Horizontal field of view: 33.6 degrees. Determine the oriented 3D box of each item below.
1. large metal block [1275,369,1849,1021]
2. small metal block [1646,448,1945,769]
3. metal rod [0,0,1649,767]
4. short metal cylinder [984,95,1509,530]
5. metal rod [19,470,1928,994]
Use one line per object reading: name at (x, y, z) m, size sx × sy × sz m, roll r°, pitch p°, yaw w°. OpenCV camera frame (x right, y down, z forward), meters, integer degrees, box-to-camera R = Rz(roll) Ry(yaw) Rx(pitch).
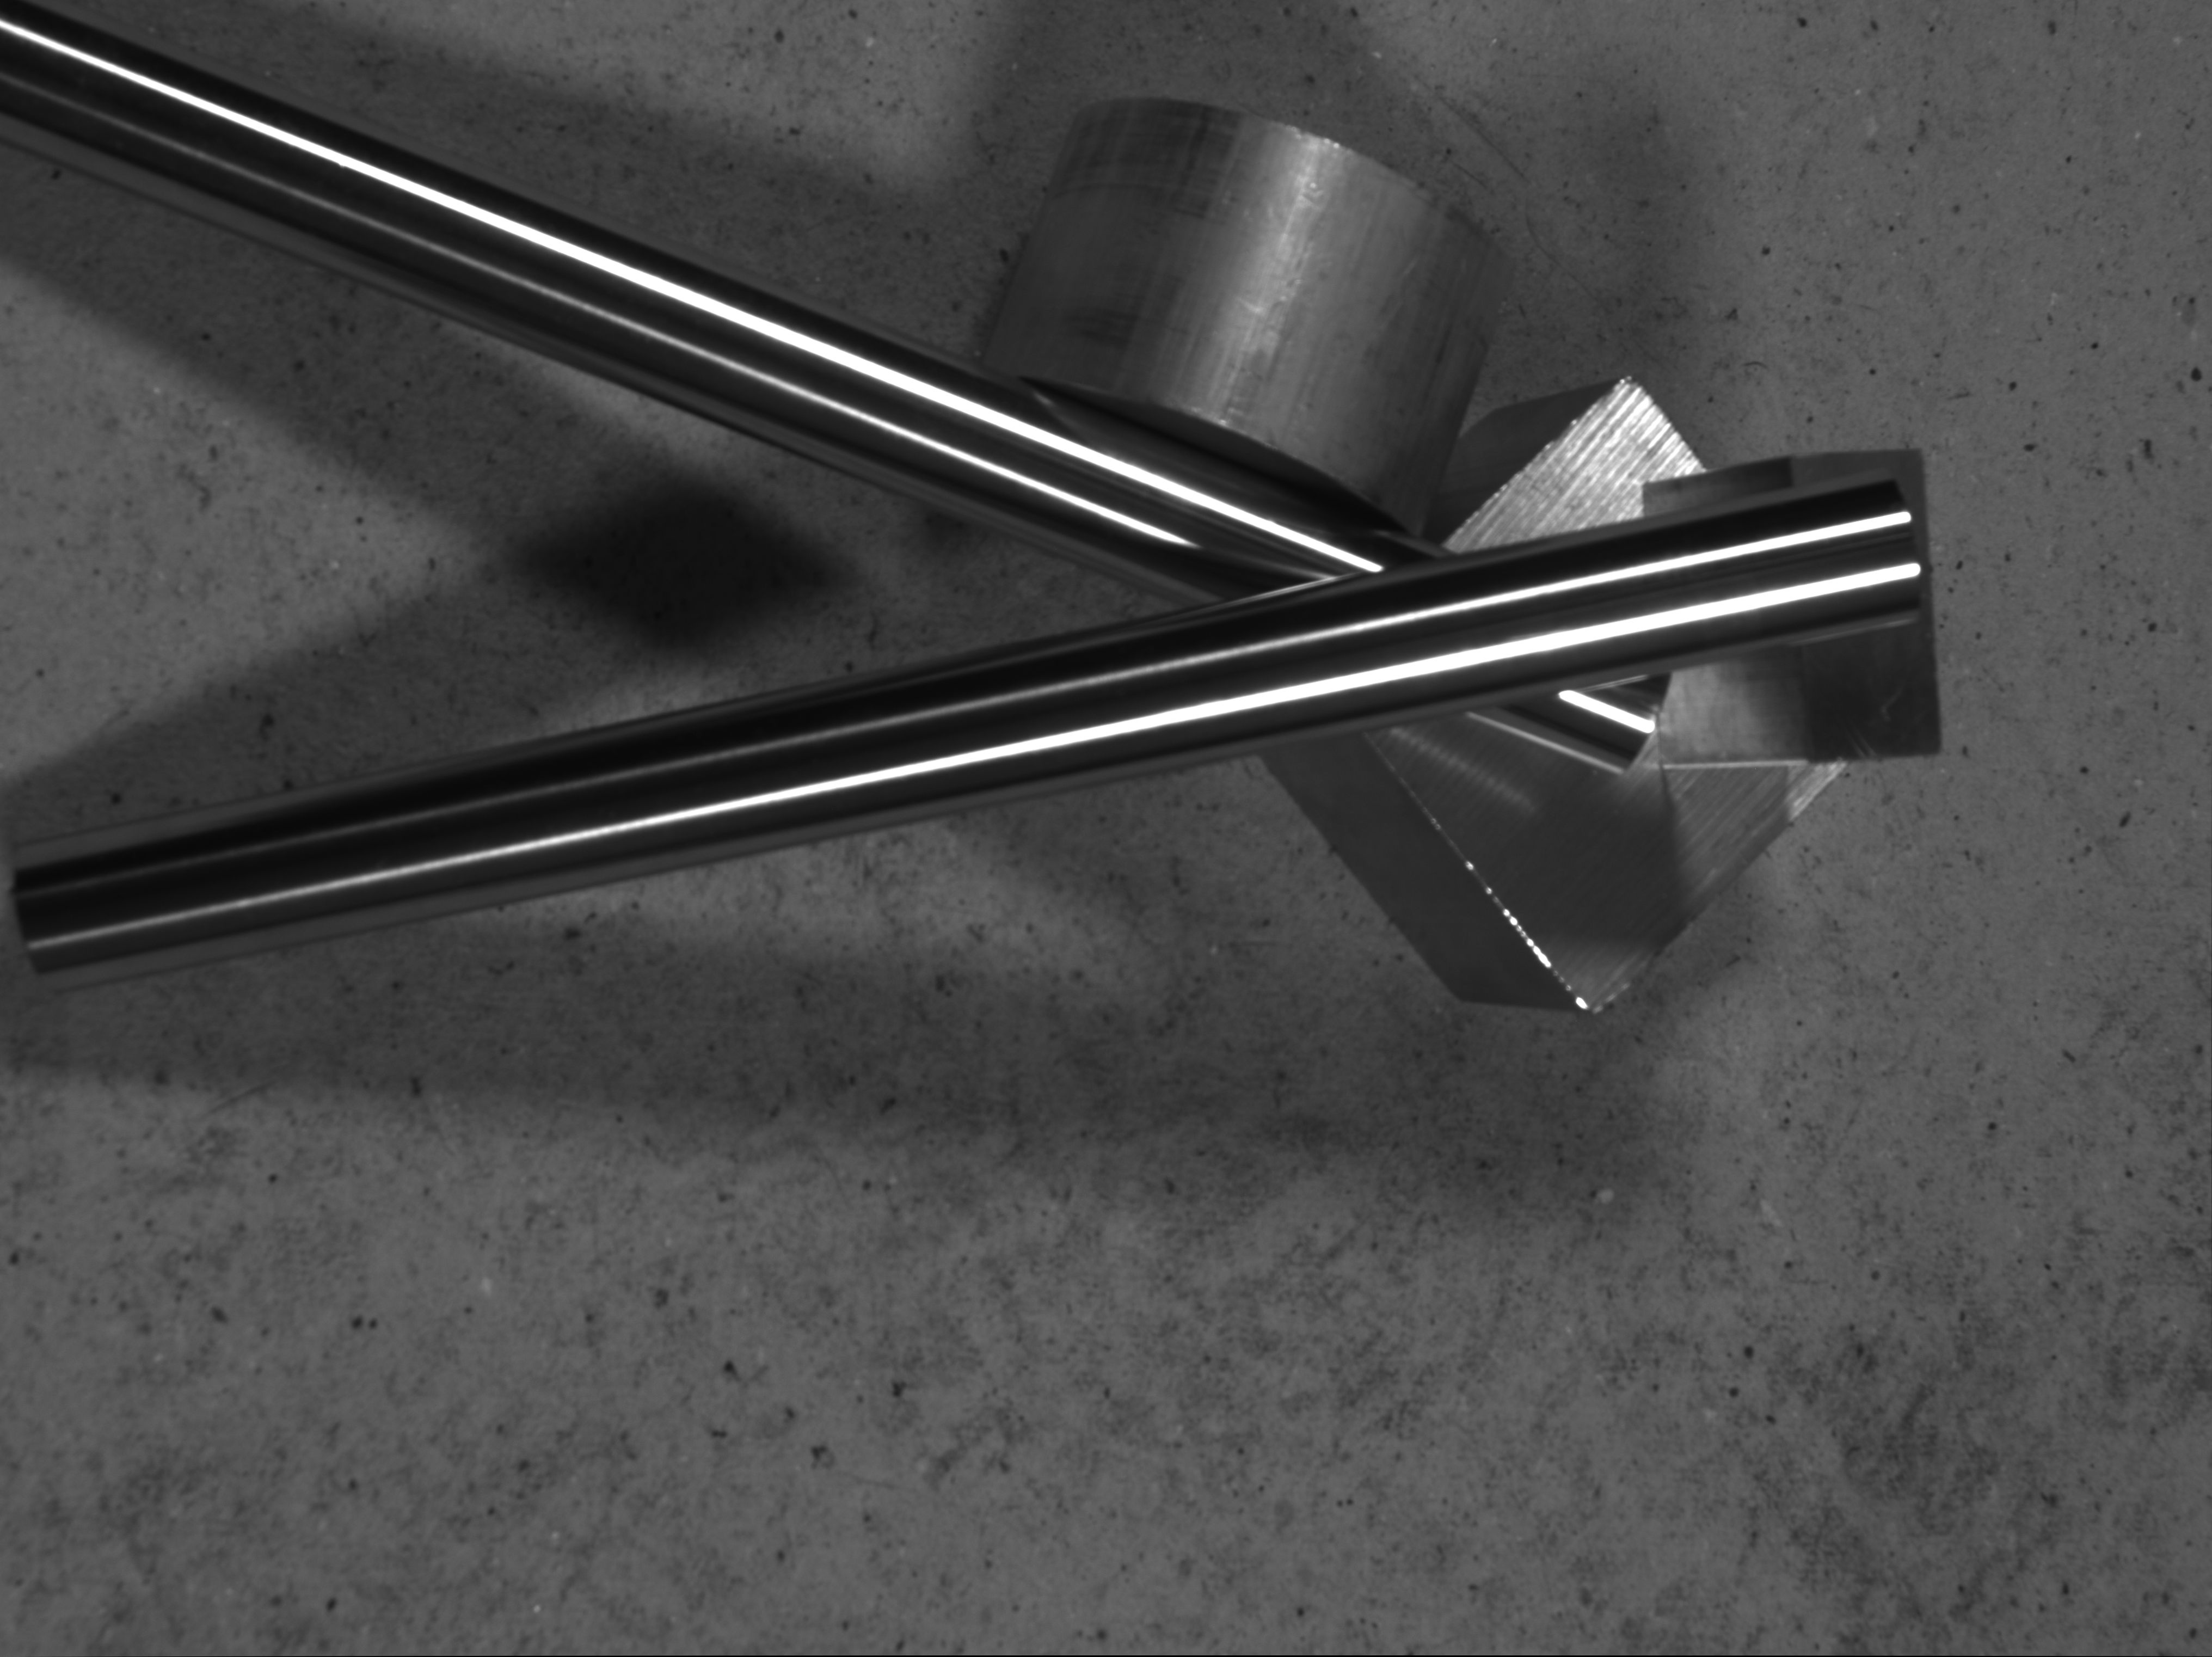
large metal block at (0.080, -0.023, 0.658) m, size 0.080 × 0.050 × 0.080 m, roll -43°, pitch 103°, yaw -14°
small metal block at (0.115, -0.036, 0.616) m, size 0.025 × 0.050 × 0.050 m, roll -4°, pitch 92°, yaw -19°
metal rod at (-0.052, -0.075, 0.594) m, size 0.300 × 0.025 × 0.025 m, roll 21°, pitch 83°, yaw -7°
short metal cylinder at (0.023, -0.084, 0.624) m, size 0.080 × 0.080 × 0.050 m, roll 22°, pitch 83°, yaw -18°
metal rod at (-0.021, -0.015, 0.579) m, size 0.300 × 0.025 × 0.025 m, roll -11°, pitch 94°, yaw 1°
